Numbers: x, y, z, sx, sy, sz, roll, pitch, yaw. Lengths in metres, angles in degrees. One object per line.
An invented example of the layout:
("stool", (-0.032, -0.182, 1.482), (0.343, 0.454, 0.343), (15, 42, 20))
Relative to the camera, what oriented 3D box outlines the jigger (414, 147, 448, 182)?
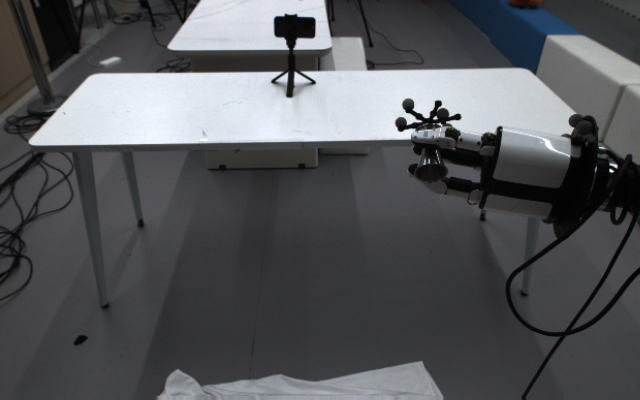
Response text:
("jigger", (0.148, -0.067, 0.655), (0.043, 0.043, 0.071), (4, 61, 2))
